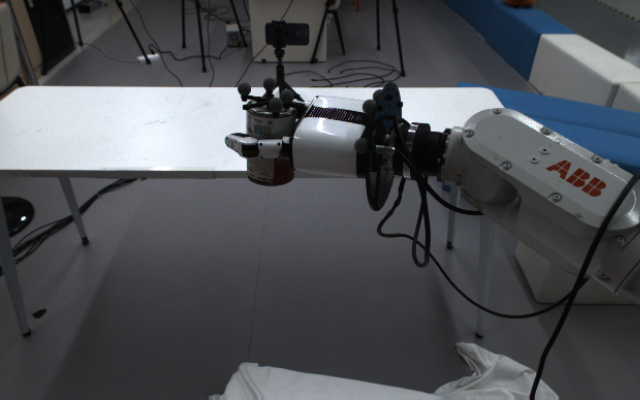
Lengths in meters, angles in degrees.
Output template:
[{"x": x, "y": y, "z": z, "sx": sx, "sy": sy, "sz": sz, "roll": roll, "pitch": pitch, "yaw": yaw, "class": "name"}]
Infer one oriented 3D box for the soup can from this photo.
[{"x": -0.066, "y": -0.078, "z": 0.652, "sx": 0.067, "sy": 0.101, "sz": 0.067, "roll": 4, "pitch": 30, "yaw": -2, "class": "soup can"}]
